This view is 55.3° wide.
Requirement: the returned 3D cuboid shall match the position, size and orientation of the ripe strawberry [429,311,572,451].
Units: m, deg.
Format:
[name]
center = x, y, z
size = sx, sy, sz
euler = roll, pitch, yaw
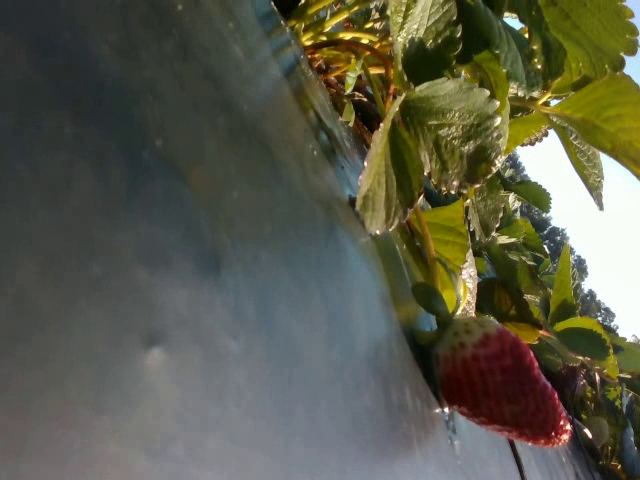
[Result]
[ripe strawberry]
center = 0.044, 0.036, 0.146
size = 0.041, 0.031, 0.028
euler = 38, 24, 30
